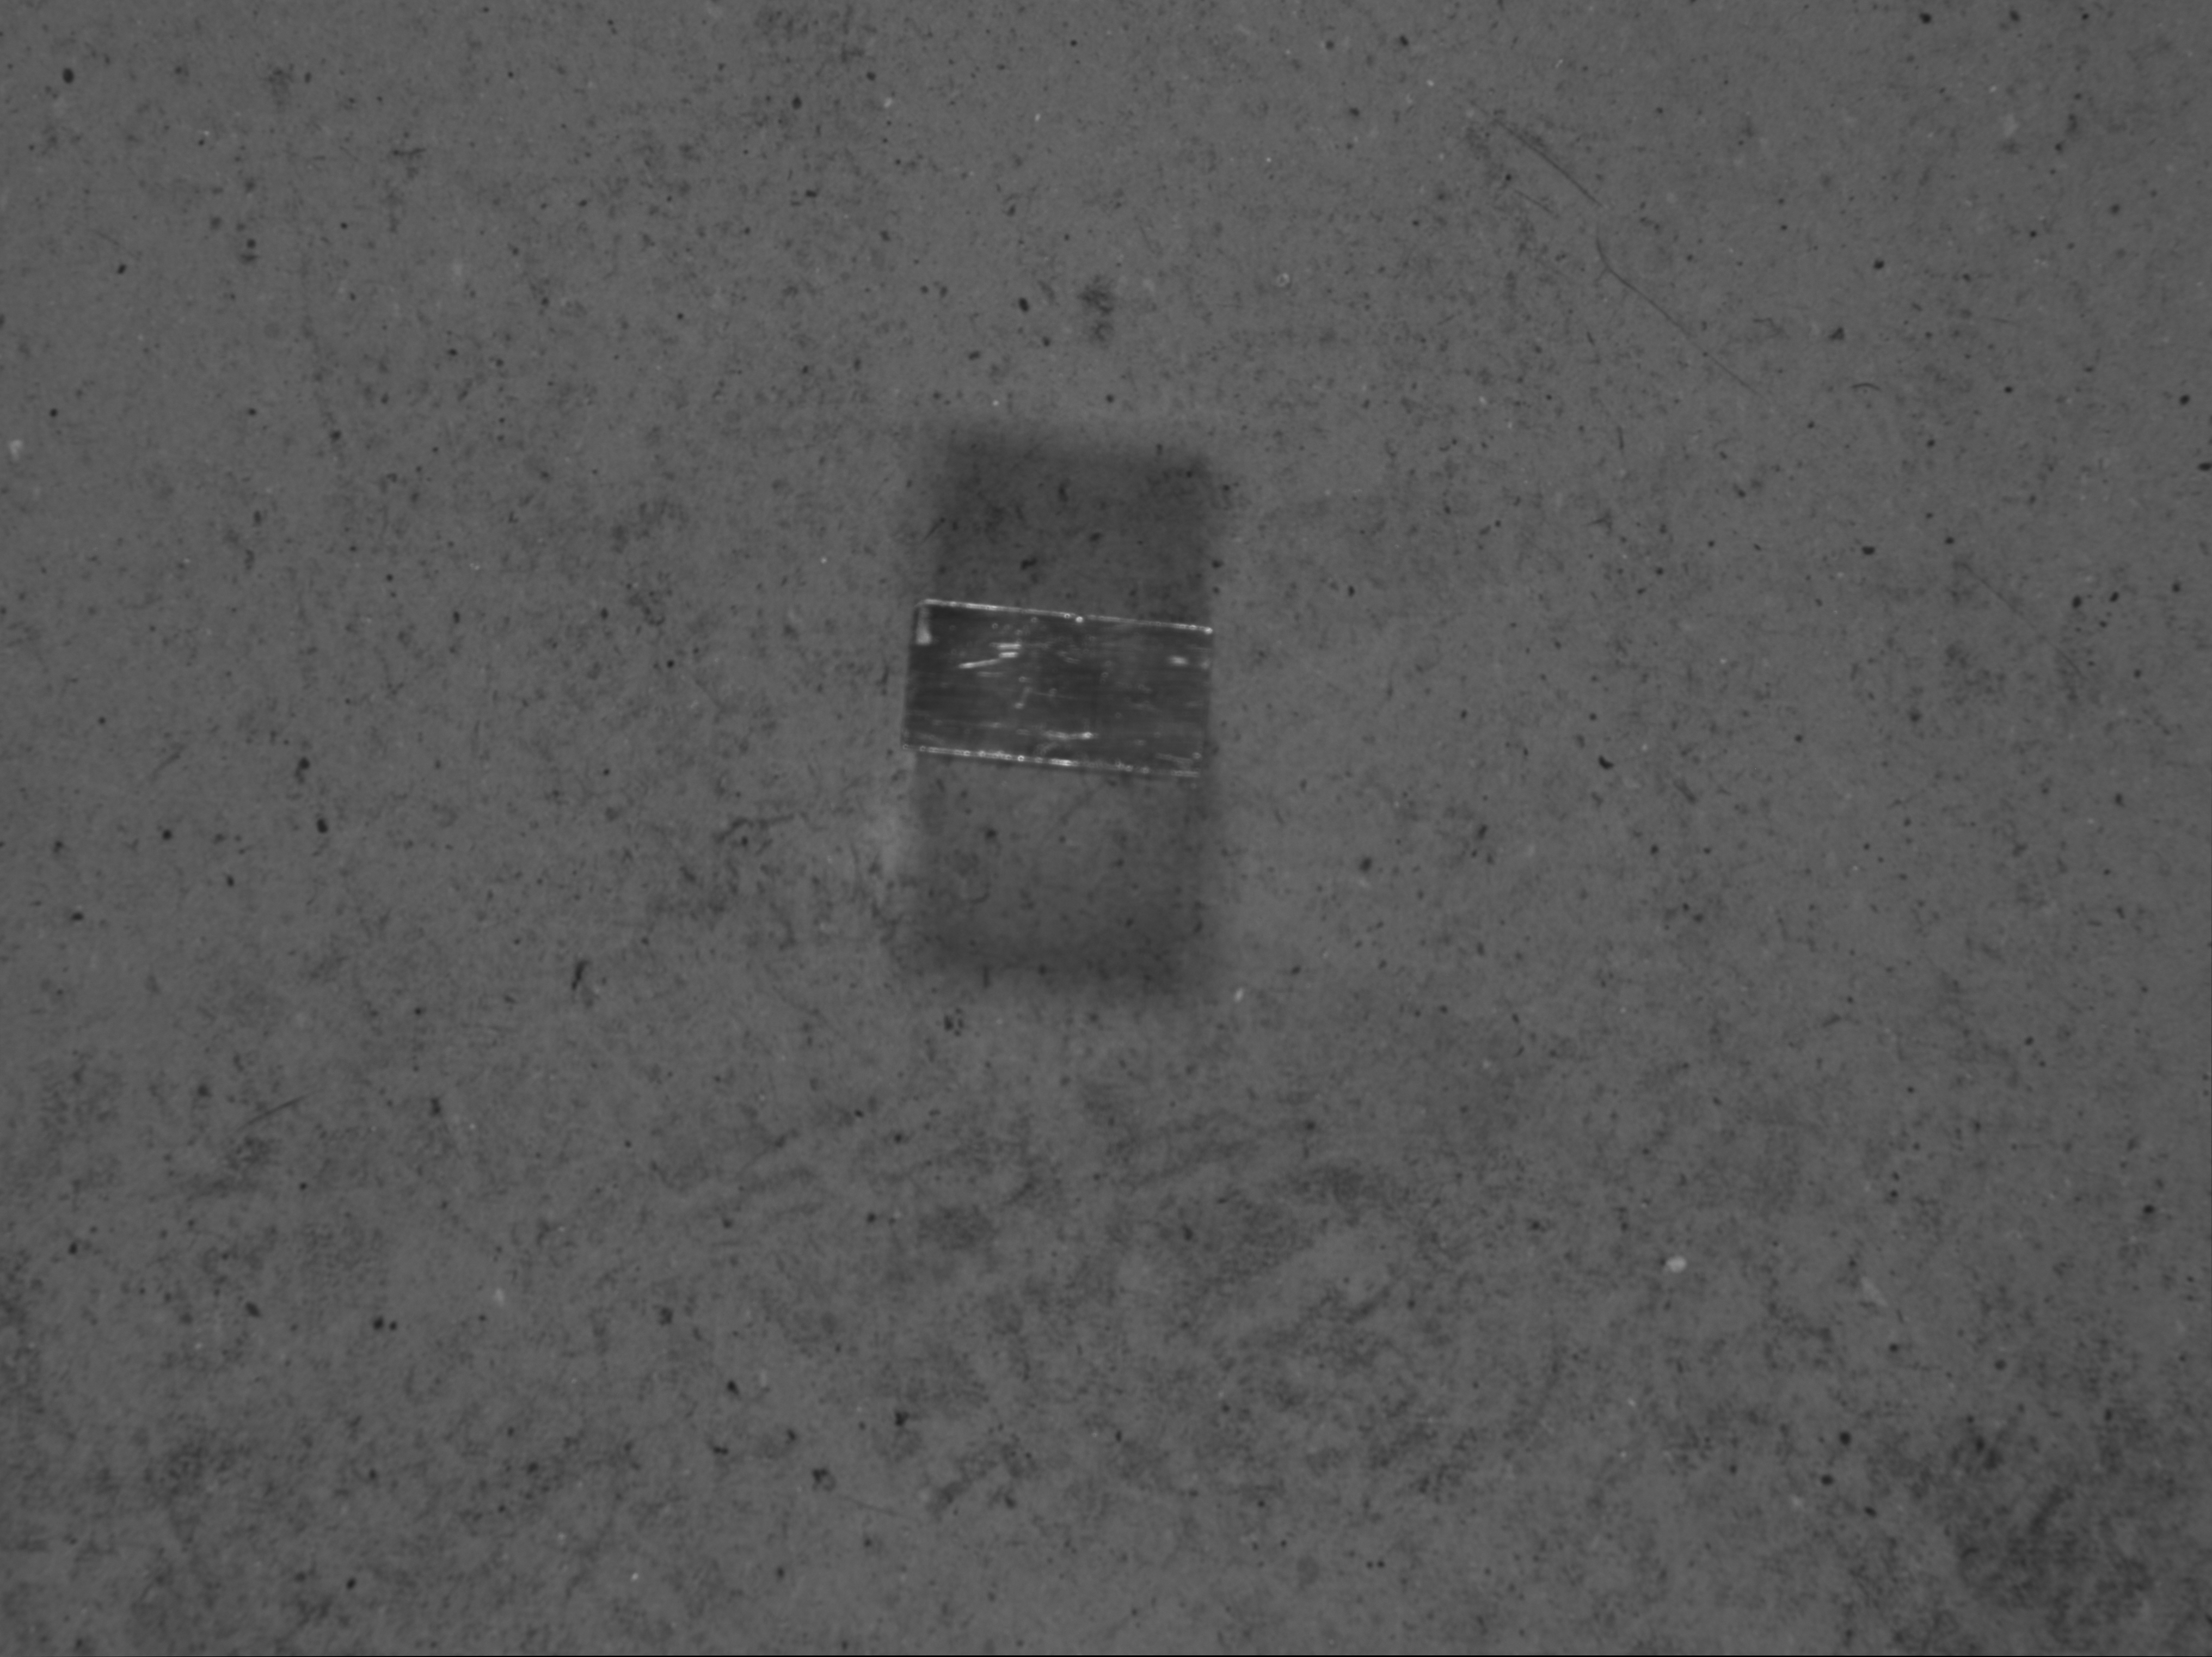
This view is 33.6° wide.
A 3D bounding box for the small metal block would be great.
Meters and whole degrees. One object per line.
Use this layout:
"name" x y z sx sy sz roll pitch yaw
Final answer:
"small metal block" -0.009 -0.023 0.632 0.050 0.050 0.025 5 90 0
